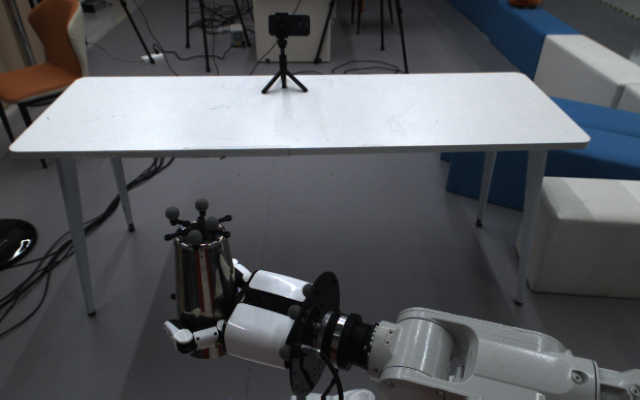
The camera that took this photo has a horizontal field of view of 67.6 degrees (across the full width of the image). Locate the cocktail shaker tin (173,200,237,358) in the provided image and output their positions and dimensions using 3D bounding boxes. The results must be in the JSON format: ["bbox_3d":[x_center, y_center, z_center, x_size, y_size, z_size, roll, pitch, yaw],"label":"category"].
[{"bbox_3d":[-0.151,0.117,0.646,0.093,0.170,0.093,1,27,0],"label":"cocktail shaker tin"}]
